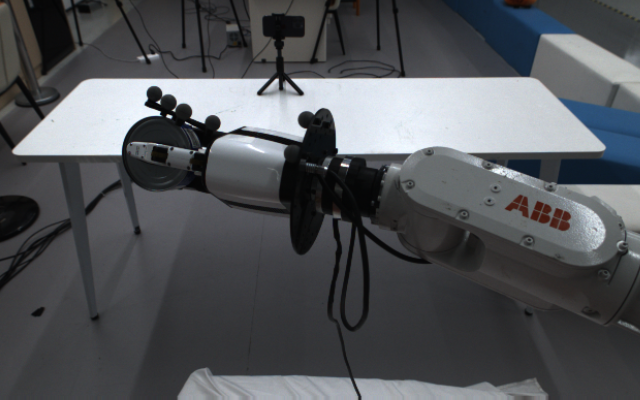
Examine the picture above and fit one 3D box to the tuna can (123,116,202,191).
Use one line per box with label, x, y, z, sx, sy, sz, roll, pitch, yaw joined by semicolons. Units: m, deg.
tuna can;-0.180;-0.052;0.561;0.085;0.085;0.034;10;4;11
